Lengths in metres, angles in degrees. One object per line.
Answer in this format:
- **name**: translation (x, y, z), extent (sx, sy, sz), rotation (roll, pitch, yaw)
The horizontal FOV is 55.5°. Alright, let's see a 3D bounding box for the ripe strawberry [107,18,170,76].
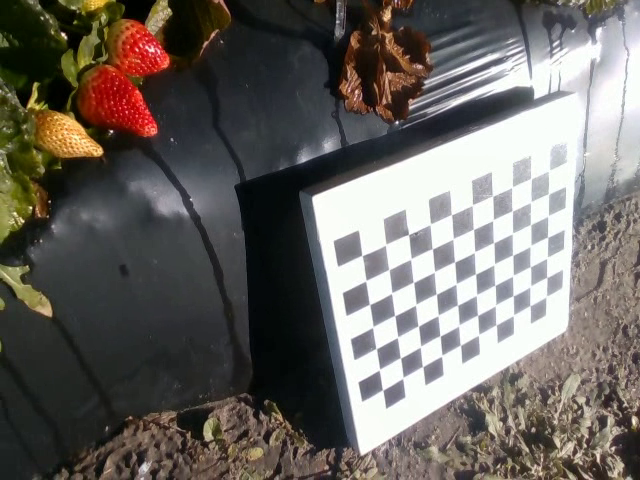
- **ripe strawberry**: translation (-0.107, -0.113, 0.361), extent (0.041, 0.036, 0.030), rotation (7, 15, -29)

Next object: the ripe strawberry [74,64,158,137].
- **ripe strawberry**: translation (-0.113, -0.075, 0.351), extent (0.052, 0.036, 0.039), rotation (34, -2, 0)
